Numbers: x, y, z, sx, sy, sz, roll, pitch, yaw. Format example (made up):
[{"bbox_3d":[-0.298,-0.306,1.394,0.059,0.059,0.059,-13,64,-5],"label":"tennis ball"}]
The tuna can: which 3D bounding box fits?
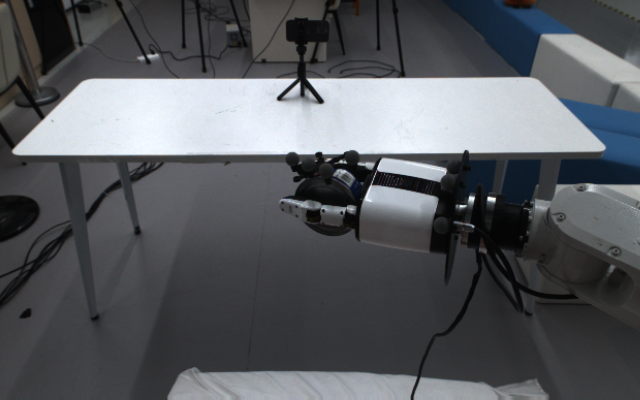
[{"bbox_3d":[0.016,0.005,0.605,0.085,0.085,0.034,15,34,17],"label":"tuna can"}]
